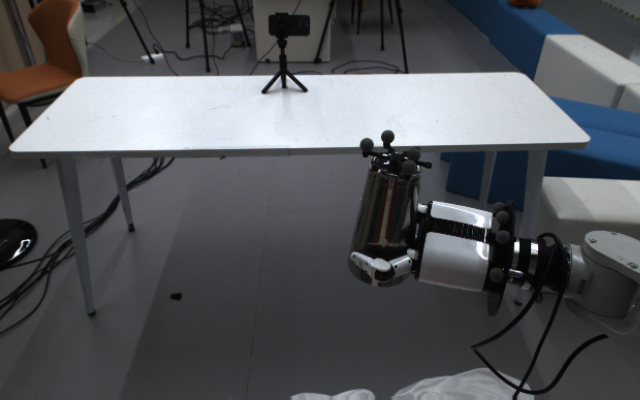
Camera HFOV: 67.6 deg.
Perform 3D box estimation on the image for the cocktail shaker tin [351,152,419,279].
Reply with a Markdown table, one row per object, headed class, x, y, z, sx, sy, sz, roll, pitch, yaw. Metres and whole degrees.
| class | x | y | z | sx | sy | sz | roll | pitch | yaw |
| --- | --- | --- | --- | --- | --- | --- | --- | --- | --- |
| cocktail shaker tin | 0.092 | 0.024 | 0.661 | 0.093 | 0.170 | 0.093 | 3 | 34 | -2 |
